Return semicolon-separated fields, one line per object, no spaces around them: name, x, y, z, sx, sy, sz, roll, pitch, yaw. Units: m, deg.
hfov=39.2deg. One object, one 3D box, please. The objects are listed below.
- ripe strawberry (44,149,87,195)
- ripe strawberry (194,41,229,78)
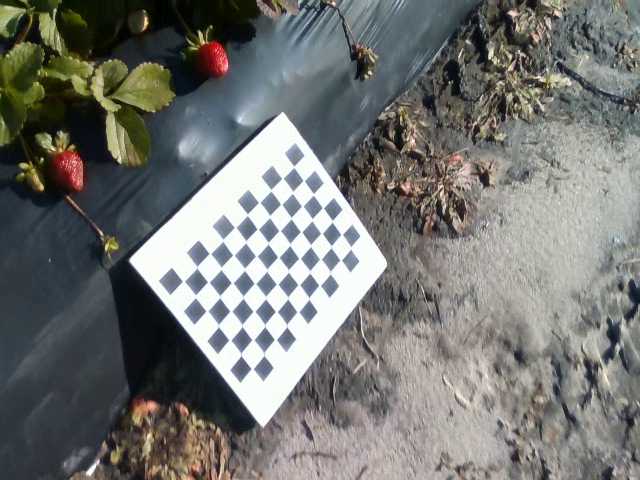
ripe strawberry;-0.250;-0.064;0.900;0.041;0.053;0.043;-37;-20;-32
ripe strawberry;-0.110;-0.193;0.981;0.042;0.050;0.043;-9;-39;-38
